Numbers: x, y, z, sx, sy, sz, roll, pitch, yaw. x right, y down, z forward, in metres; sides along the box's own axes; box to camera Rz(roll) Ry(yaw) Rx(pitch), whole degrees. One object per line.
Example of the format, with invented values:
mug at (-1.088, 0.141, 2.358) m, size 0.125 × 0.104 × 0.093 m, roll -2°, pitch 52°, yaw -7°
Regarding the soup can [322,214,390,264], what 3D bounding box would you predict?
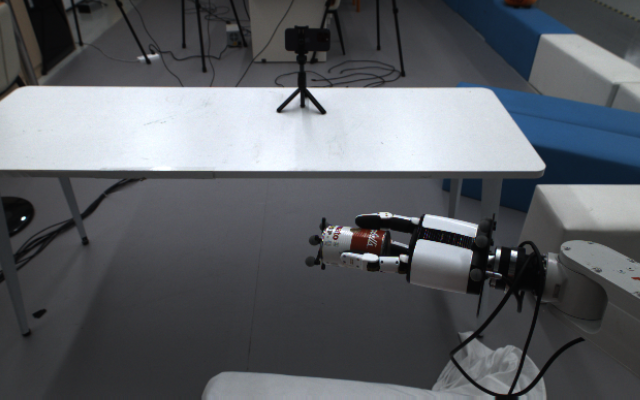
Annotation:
soup can at (0.061, 0.078, 0.782) m, size 0.101 × 0.067 × 0.067 m, roll 5°, pitch 34°, yaw 18°
